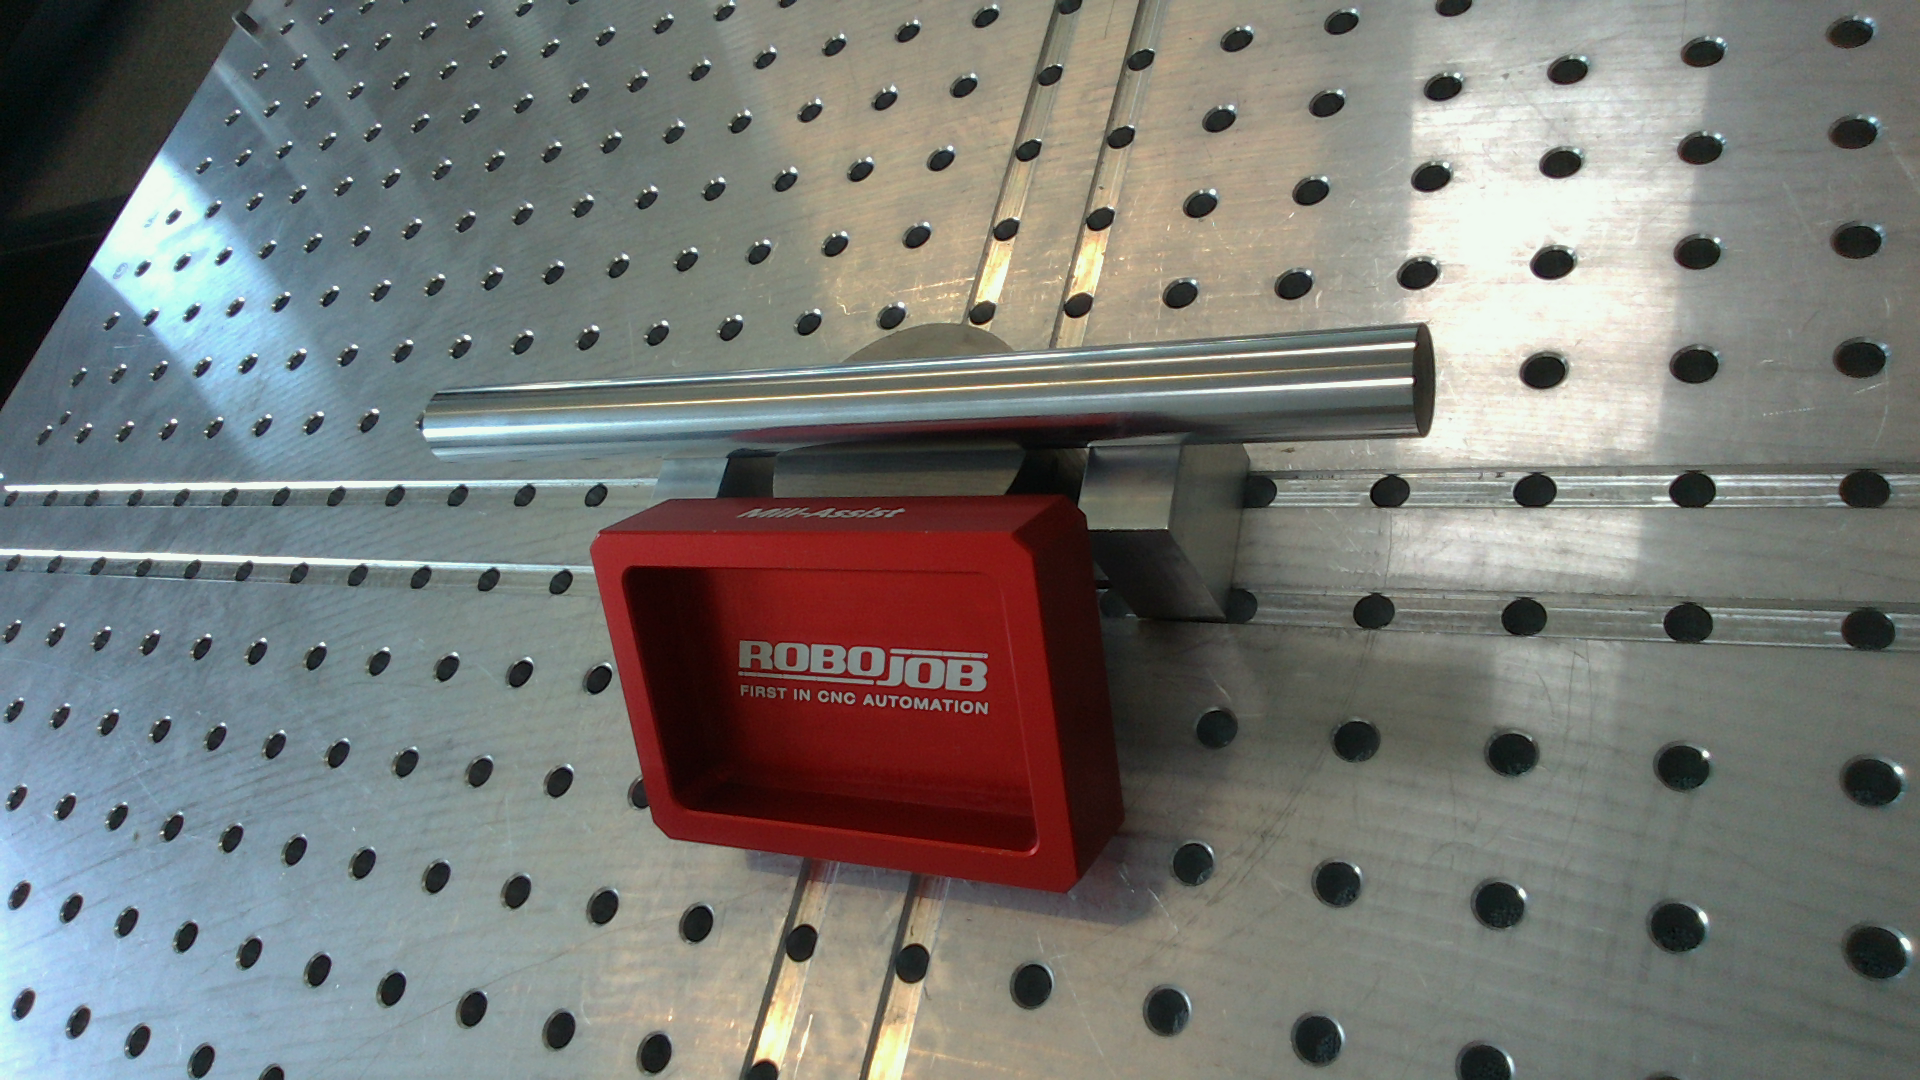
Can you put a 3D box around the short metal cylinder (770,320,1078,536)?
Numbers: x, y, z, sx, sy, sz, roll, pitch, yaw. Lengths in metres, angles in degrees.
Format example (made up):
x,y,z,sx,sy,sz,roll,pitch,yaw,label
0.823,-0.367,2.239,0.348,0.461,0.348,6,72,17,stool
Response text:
x,y,z,sx,sy,sz,roll,pitch,yaw,label
-0.007,-0.015,0.393,0.080,0.050,0.080,-13,56,21,short metal cylinder

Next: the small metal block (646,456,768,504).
x,y,z,sx,sy,sz,roll,pitch,yaw,label
-0.067,-0.015,0.427,0.025,0.050,0.050,-1,61,28,small metal block

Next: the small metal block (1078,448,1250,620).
x,y,z,sx,sy,sz,roll,pitch,yaw,label
0.054,-0.013,0.360,0.025,0.050,0.050,-1,61,28,small metal block

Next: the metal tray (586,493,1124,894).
x,y,z,sx,sy,sz,roll,pitch,yaw,label
-0.028,0.036,0.351,0.130,0.090,0.030,0,18,29,metal tray

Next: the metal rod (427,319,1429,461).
x,y,z,sx,sy,sz,roll,pitch,yaw,label
-0.031,-0.036,0.371,0.299,0.025,0.025,0,62,29,metal rod
